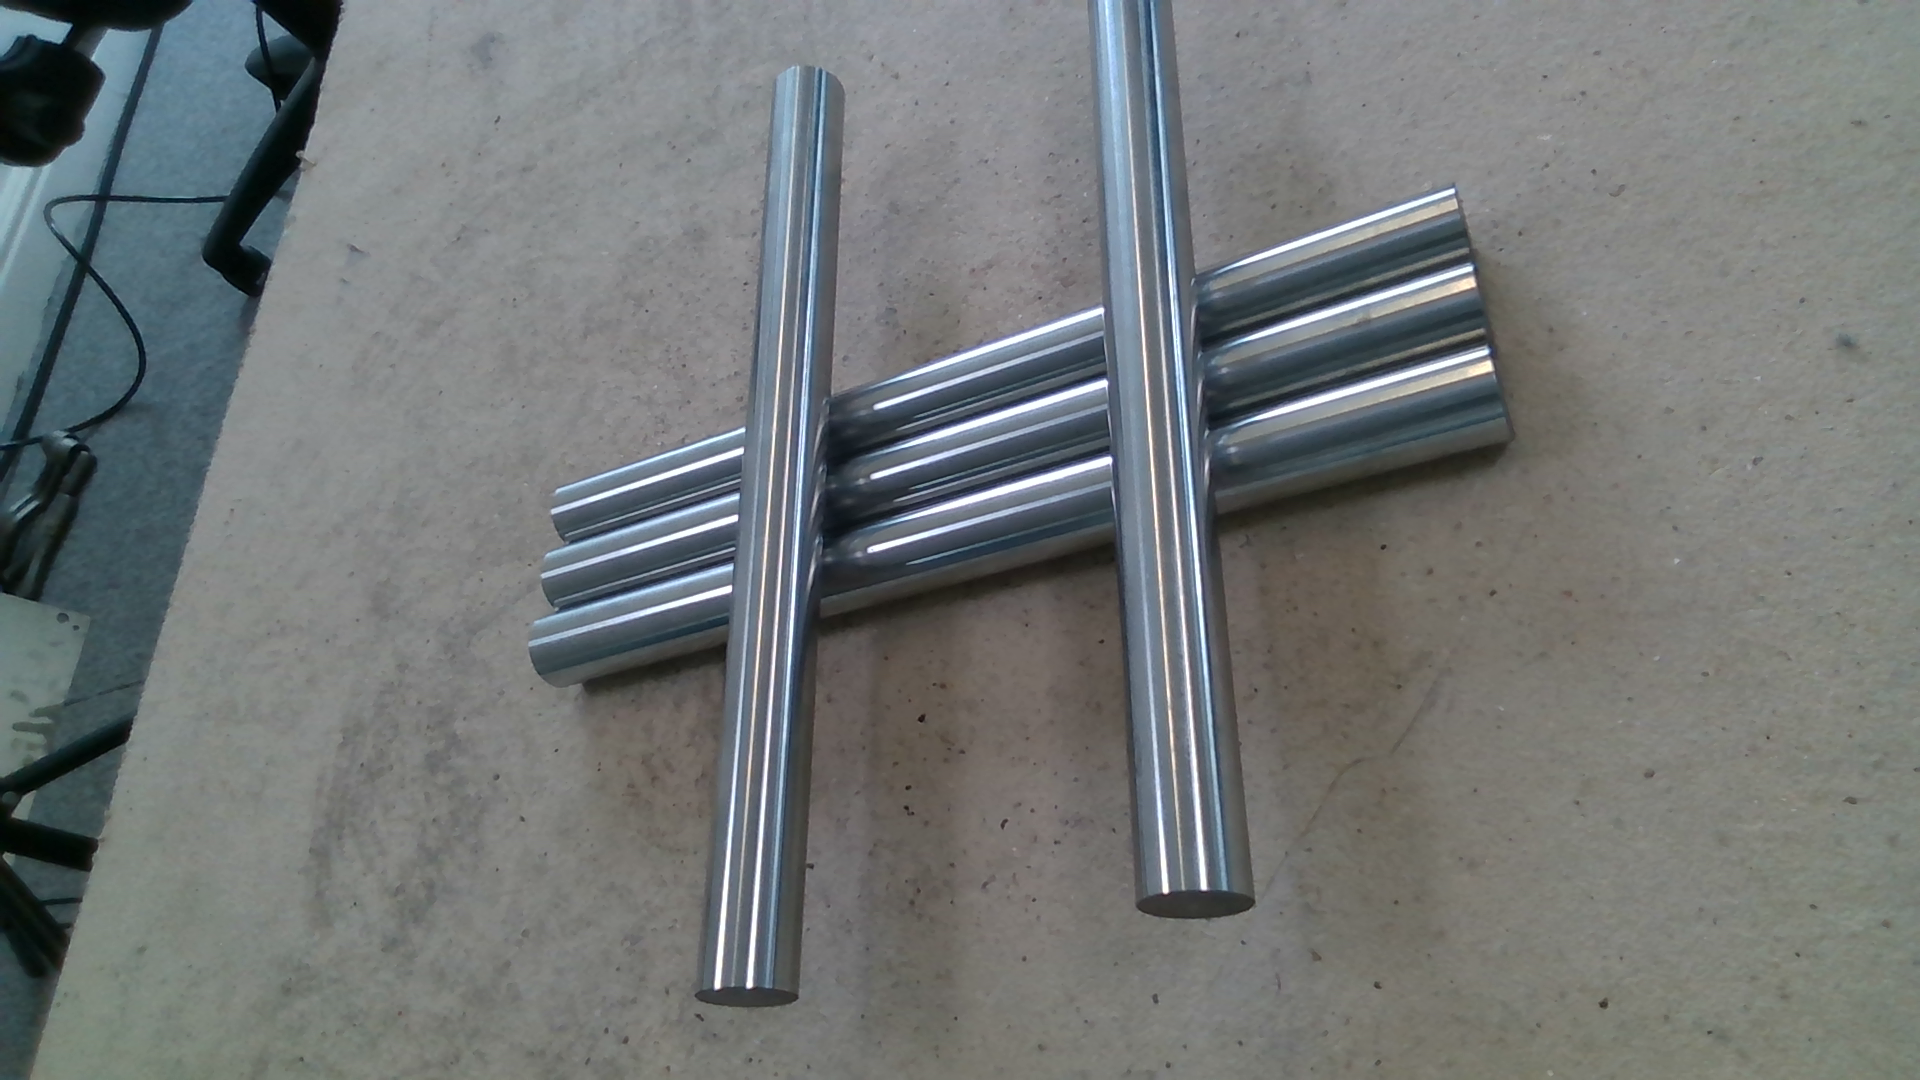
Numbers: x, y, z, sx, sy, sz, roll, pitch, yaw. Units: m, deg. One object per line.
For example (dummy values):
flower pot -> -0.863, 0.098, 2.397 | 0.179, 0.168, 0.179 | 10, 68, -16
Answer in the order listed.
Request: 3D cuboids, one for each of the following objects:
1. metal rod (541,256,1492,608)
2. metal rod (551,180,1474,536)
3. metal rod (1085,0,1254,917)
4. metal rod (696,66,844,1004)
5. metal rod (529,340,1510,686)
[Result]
metal rod -> -0.002, -0.023, 0.406 | 0.300, 0.025, 0.025 | -15, 58, 24
metal rod -> -0.002, -0.044, 0.418 | 0.300, 0.025, 0.025 | -15, 58, 24
metal rod -> 0.050, -0.056, 0.360 | 0.025, 0.025, 0.299 | -14, 59, 25
metal rod -> -0.052, -0.022, 0.404 | 0.025, 0.025, 0.299 | -14, 59, 25
metal rod -> -0.002, 0.000, 0.394 | 0.300, 0.025, 0.025 | -15, 58, 24
